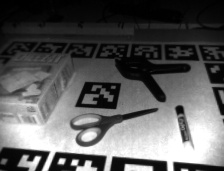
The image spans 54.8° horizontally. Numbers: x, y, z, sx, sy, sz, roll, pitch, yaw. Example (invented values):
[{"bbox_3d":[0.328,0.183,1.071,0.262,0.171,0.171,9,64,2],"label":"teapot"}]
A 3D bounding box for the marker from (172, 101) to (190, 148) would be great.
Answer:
[{"bbox_3d":[0.143,0.077,0.455,0.019,0.020,0.120,0,38,6],"label":"marker"}]

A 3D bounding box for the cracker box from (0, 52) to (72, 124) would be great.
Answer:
[{"bbox_3d":[-0.217,-0.008,0.552,0.163,0.072,0.213,3,40,9],"label":"cracker box"}]

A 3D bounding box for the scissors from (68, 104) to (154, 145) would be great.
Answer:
[{"bbox_3d":[0.003,0.070,0.477,0.204,0.016,0.086,-15,39,-17],"label":"scissors"}]

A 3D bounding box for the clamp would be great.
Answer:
[{"bbox_3d":[0.079,-0.043,0.617,0.200,0.037,0.166,24,46,30],"label":"clamp"}]
